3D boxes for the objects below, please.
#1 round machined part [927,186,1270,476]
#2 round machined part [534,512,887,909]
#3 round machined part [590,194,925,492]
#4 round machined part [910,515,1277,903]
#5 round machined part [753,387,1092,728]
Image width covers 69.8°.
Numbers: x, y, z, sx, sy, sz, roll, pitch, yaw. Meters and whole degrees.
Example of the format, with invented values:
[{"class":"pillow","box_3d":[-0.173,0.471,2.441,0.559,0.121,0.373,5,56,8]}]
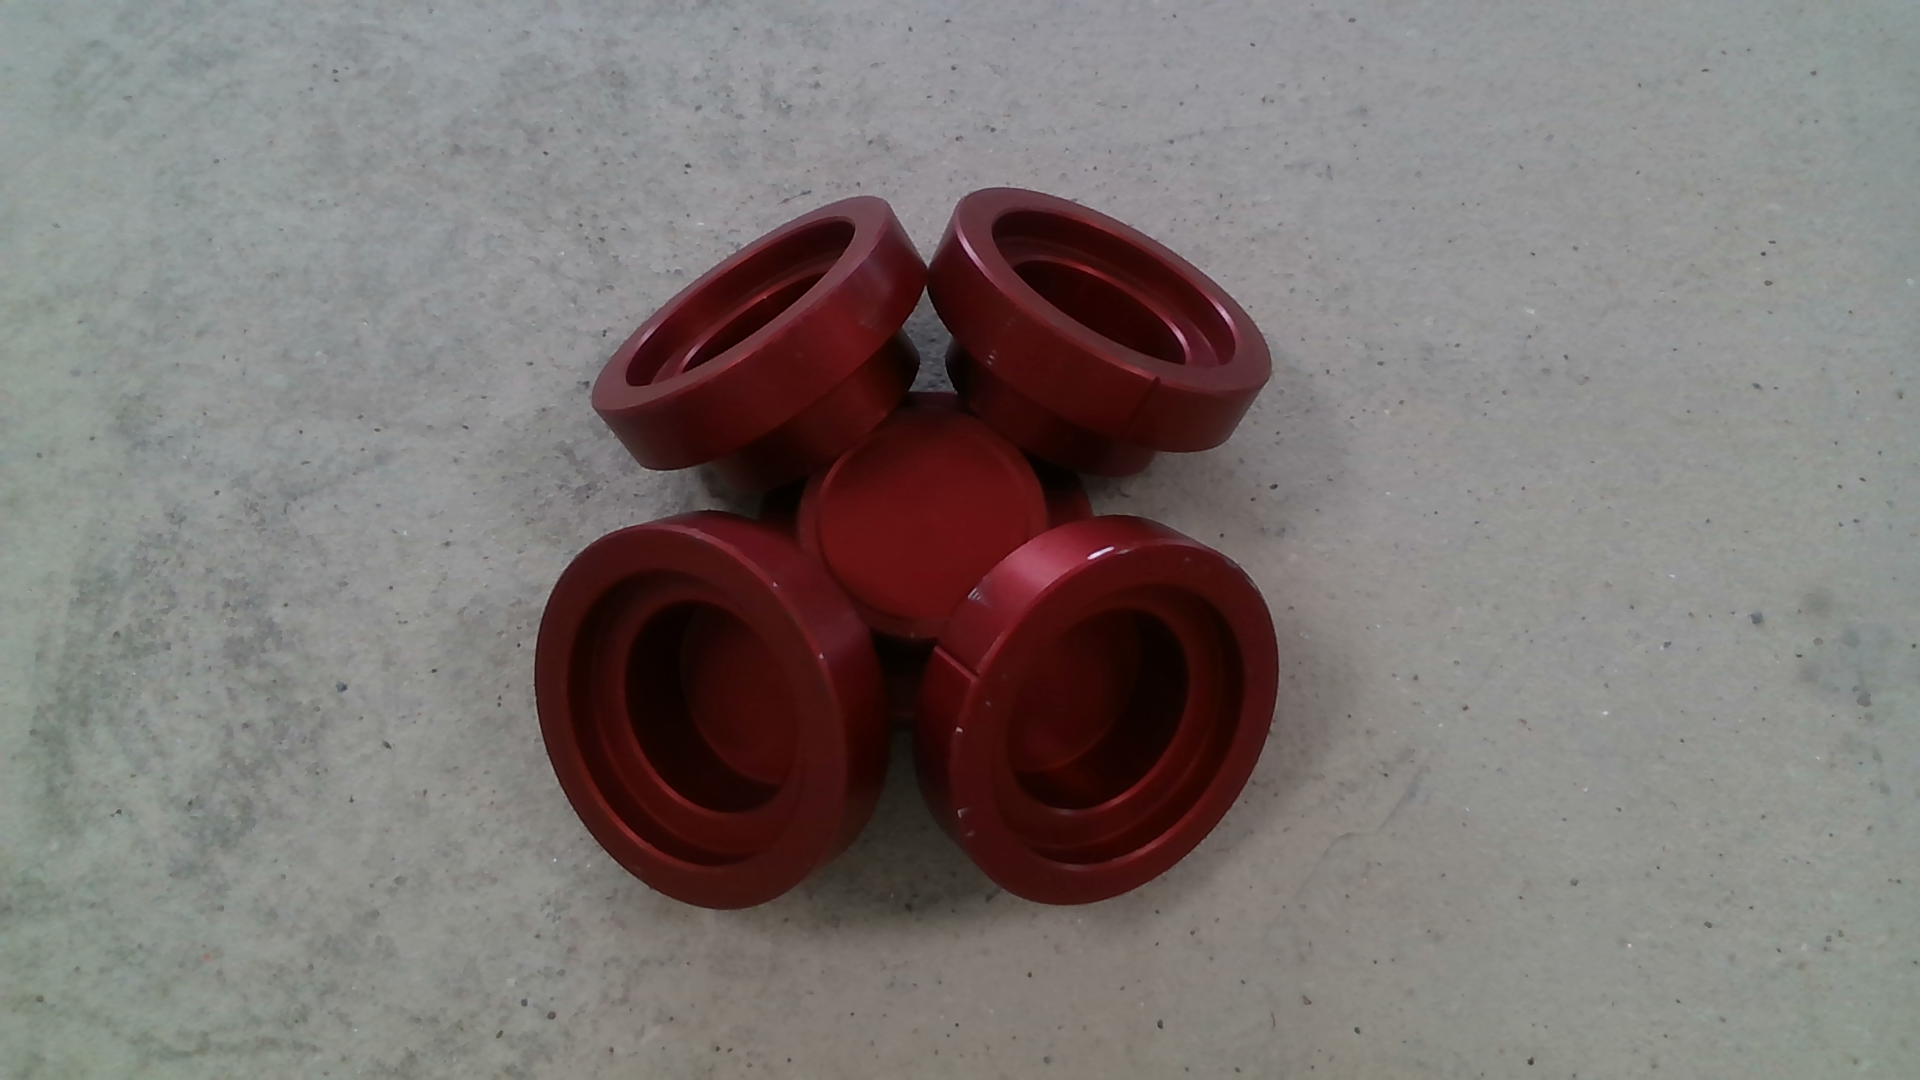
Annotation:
[{"class":"round machined part","box_3d":[0.034,-0.055,0.390,0.098,0.042,0.098,20,33,-14]},{"class":"round machined part","box_3d":[-0.059,0.041,0.355,0.098,0.042,0.098,7,105,29]},{"class":"round machined part","box_3d":[-0.051,-0.051,0.386,0.098,0.098,0.042,-42,119,-13]},{"class":"round machined part","box_3d":[0.030,0.040,0.354,0.098,0.098,0.042,-38,34,-12]},{"class":"round machined part","box_3d":[-0.010,0.001,0.386,0.098,0.042,0.098,1,71,-2]}]
